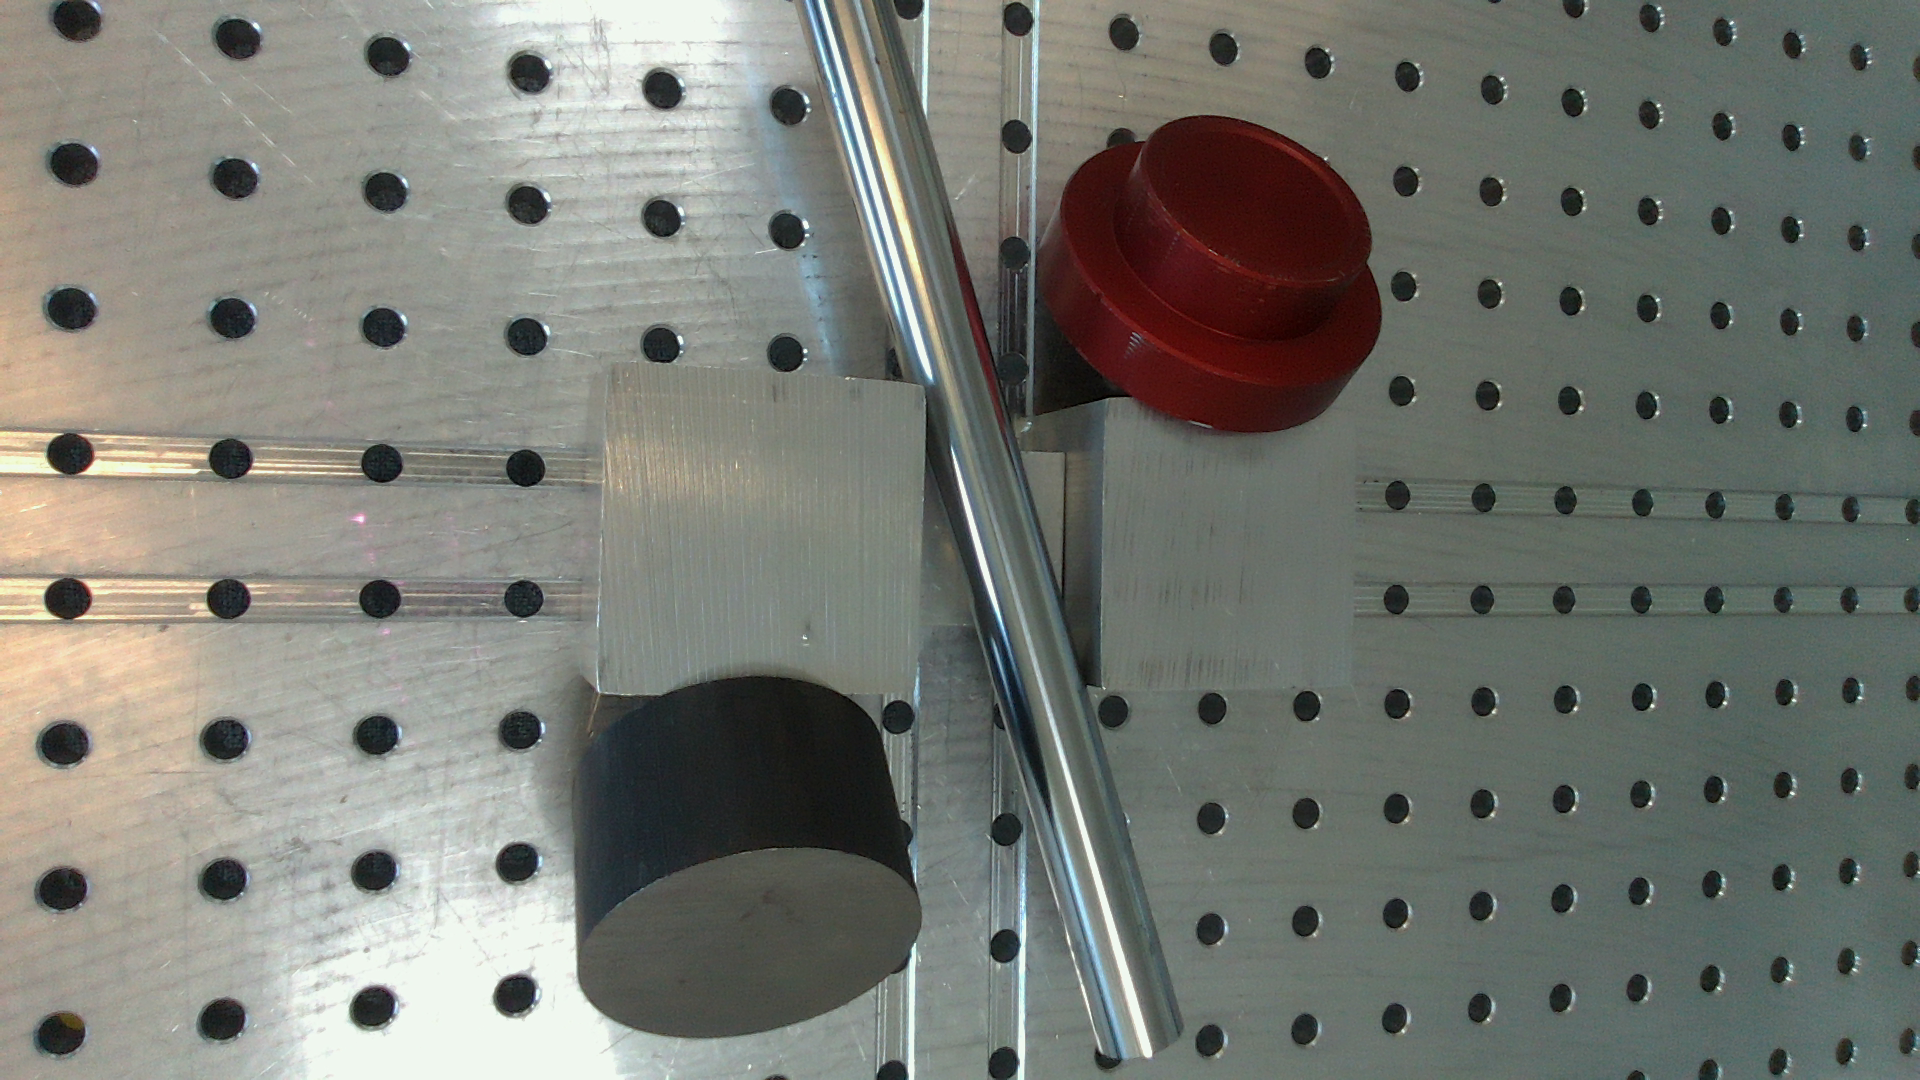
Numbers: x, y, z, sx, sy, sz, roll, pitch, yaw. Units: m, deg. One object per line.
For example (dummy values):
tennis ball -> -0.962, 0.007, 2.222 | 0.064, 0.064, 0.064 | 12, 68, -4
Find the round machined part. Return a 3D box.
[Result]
round machined part -> 0.075, -0.081, 0.388 | 0.098, 0.042, 0.098 | 10, 52, -13

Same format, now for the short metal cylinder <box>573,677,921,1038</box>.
short metal cylinder -> -0.054, 0.080, 0.340 | 0.080, 0.050, 0.080 | -9, 135, -9

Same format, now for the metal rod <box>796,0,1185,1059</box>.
metal rod -> 0.009, -0.004, 0.372 | 0.025, 0.025, 0.300 | -18, 96, -19

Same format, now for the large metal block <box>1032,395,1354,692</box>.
large metal block -> 0.067, 0.002, 0.408 | 0.080, 0.050, 0.080 | 1, 90, -20

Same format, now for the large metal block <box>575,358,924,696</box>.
large metal block -> -0.057, -0.002, 0.363 | 0.080, 0.050, 0.080 | 2, 89, -20

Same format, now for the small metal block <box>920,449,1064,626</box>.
small metal block -> 0.002, -0.001, 0.397 | 0.050, 0.025, 0.050 | 1, 90, -20
